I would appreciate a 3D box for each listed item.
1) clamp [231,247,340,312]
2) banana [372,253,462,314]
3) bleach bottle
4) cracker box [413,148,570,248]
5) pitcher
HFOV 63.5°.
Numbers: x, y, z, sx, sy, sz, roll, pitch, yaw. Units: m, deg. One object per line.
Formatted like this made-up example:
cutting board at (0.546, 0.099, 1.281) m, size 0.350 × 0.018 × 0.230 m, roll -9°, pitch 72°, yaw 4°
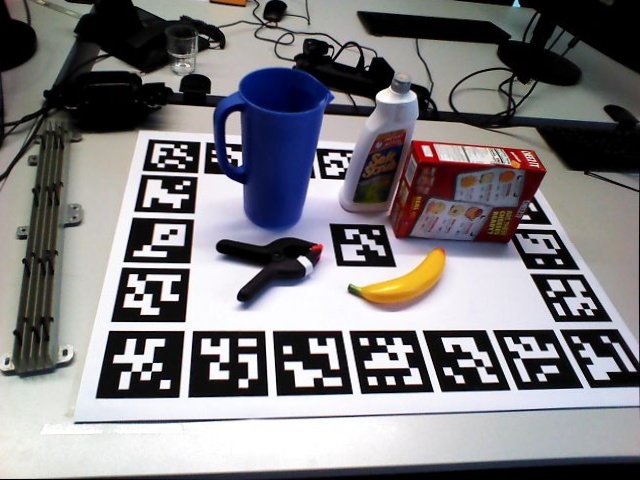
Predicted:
clamp at (-0.043, 0.048, 0.806) m, size 0.164 × 0.037 × 0.121 m, roll -10°, pitch 45°, yaw -24°
banana at (0.175, 0.073, 0.833) m, size 0.196 × 0.039 × 0.074 m, roll -27°, pitch 54°, yaw -33°
bleach bottle at (0.123, -0.144, 0.888) m, size 0.102 × 0.252 × 0.067 m, roll 1°, pitch 43°, yaw -10°
cracker box at (0.281, -0.070, 0.881) m, size 0.214 × 0.165 × 0.071 m, roll 1°, pitch 41°, yaw -8°
pitcher at (-0.054, -0.133, 0.813) m, size 0.188 × 0.244 × 0.133 m, roll -12°, pitch 46°, yaw -26°
